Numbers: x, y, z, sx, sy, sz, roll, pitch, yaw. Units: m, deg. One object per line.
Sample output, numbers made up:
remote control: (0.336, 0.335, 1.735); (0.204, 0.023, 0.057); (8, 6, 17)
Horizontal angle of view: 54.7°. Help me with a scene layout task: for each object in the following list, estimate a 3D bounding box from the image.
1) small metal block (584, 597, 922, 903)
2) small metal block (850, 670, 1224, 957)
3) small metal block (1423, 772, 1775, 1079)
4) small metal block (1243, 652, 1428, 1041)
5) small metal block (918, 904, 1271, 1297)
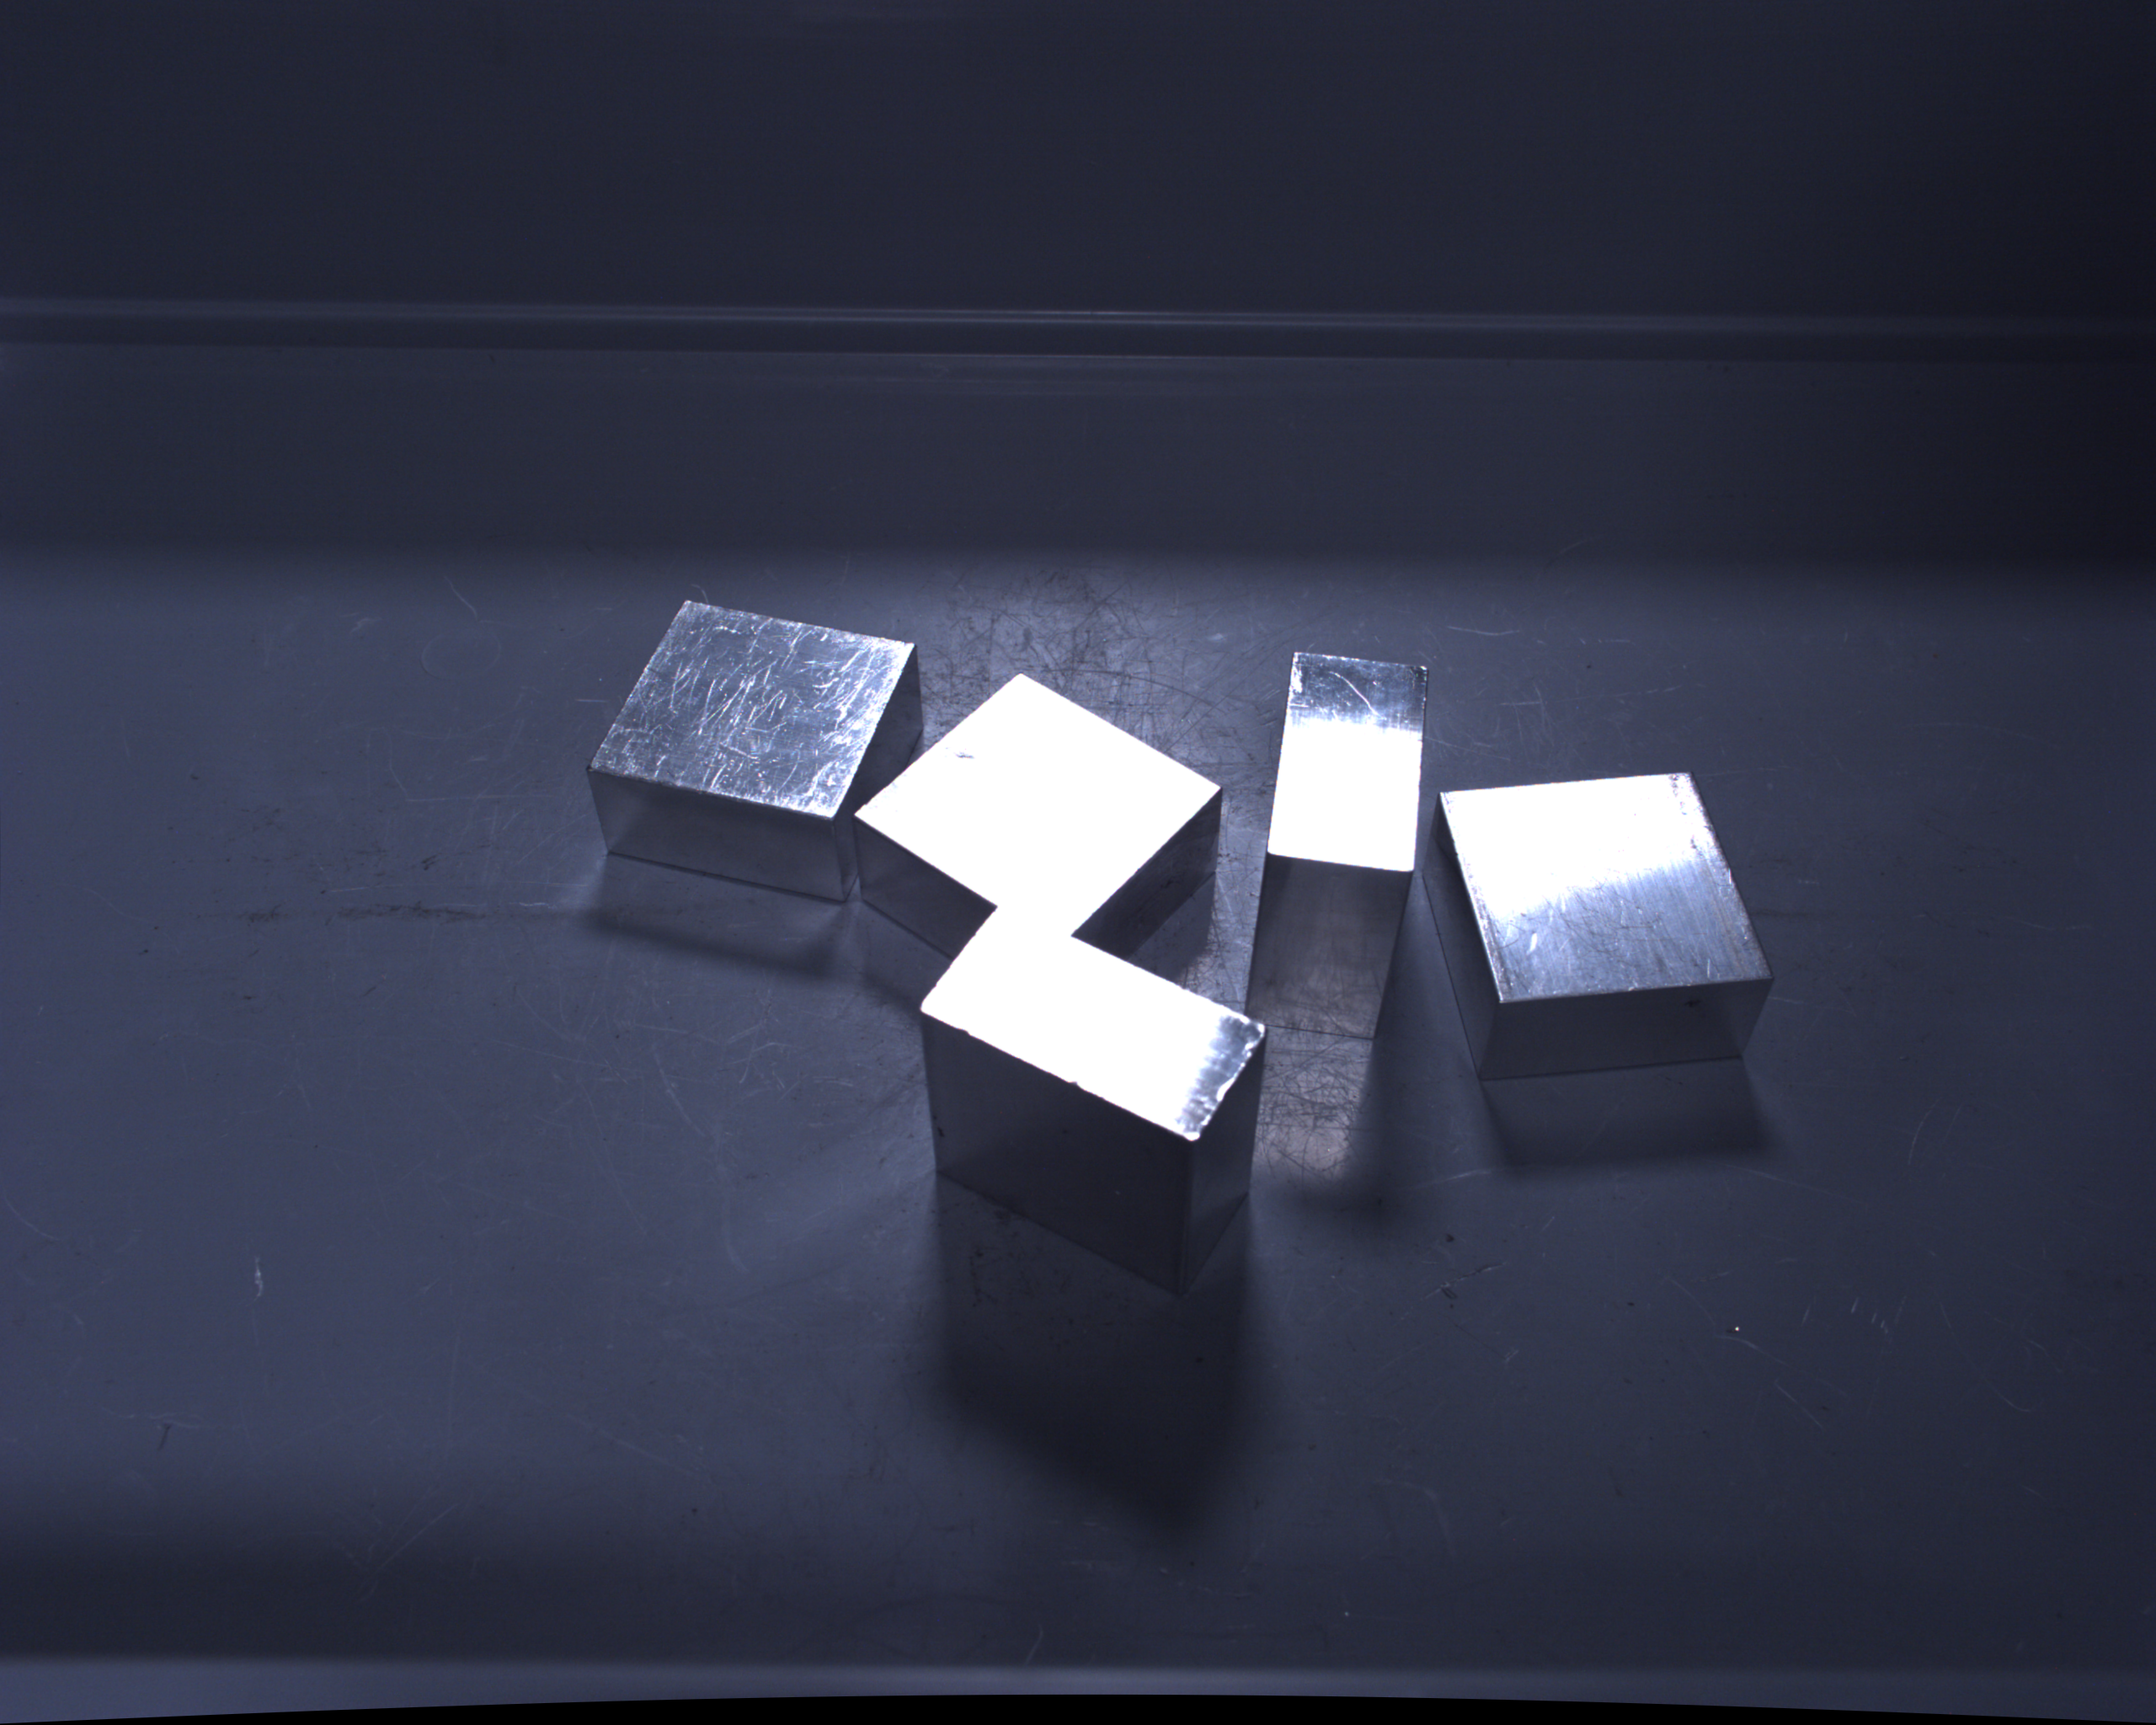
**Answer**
small metal block: (-0.064, -0.023, 0.421); (0.050, 0.025, 0.050); (12, 51, 9)
small metal block: (-0.008, -0.004, 0.405); (0.050, 0.025, 0.050); (32, 56, 23)
small metal block: (0.096, 0.011, 0.394); (0.050, 0.025, 0.050); (-4, 50, -4)
small metal block: (0.048, -0.003, 0.390); (0.025, 0.050, 0.050); (8, 51, 5)
small metal block: (0.002, 0.041, 0.352); (0.050, 0.050, 0.025); (25, 55, 18)
